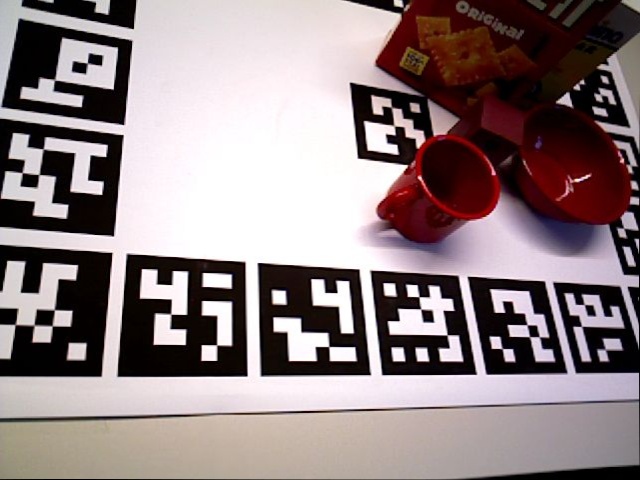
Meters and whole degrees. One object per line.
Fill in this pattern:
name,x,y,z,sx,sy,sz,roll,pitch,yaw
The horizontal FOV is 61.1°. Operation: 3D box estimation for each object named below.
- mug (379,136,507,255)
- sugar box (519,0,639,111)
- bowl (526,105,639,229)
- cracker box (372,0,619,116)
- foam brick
mug,0.111,-0.038,0.524,0.115,0.083,0.092,-5,61,-22
sugar box,0.273,-0.232,0.624,0.092,0.180,0.044,24,59,-10
bowl,0.293,-0.076,0.621,0.160,0.056,0.160,8,65,-18
cracker box,0.178,-0.235,0.567,0.164,0.218,0.070,31,56,-6
foam brick,0.176,-0.112,0.596,0.052,0.080,0.050,18,60,-12
